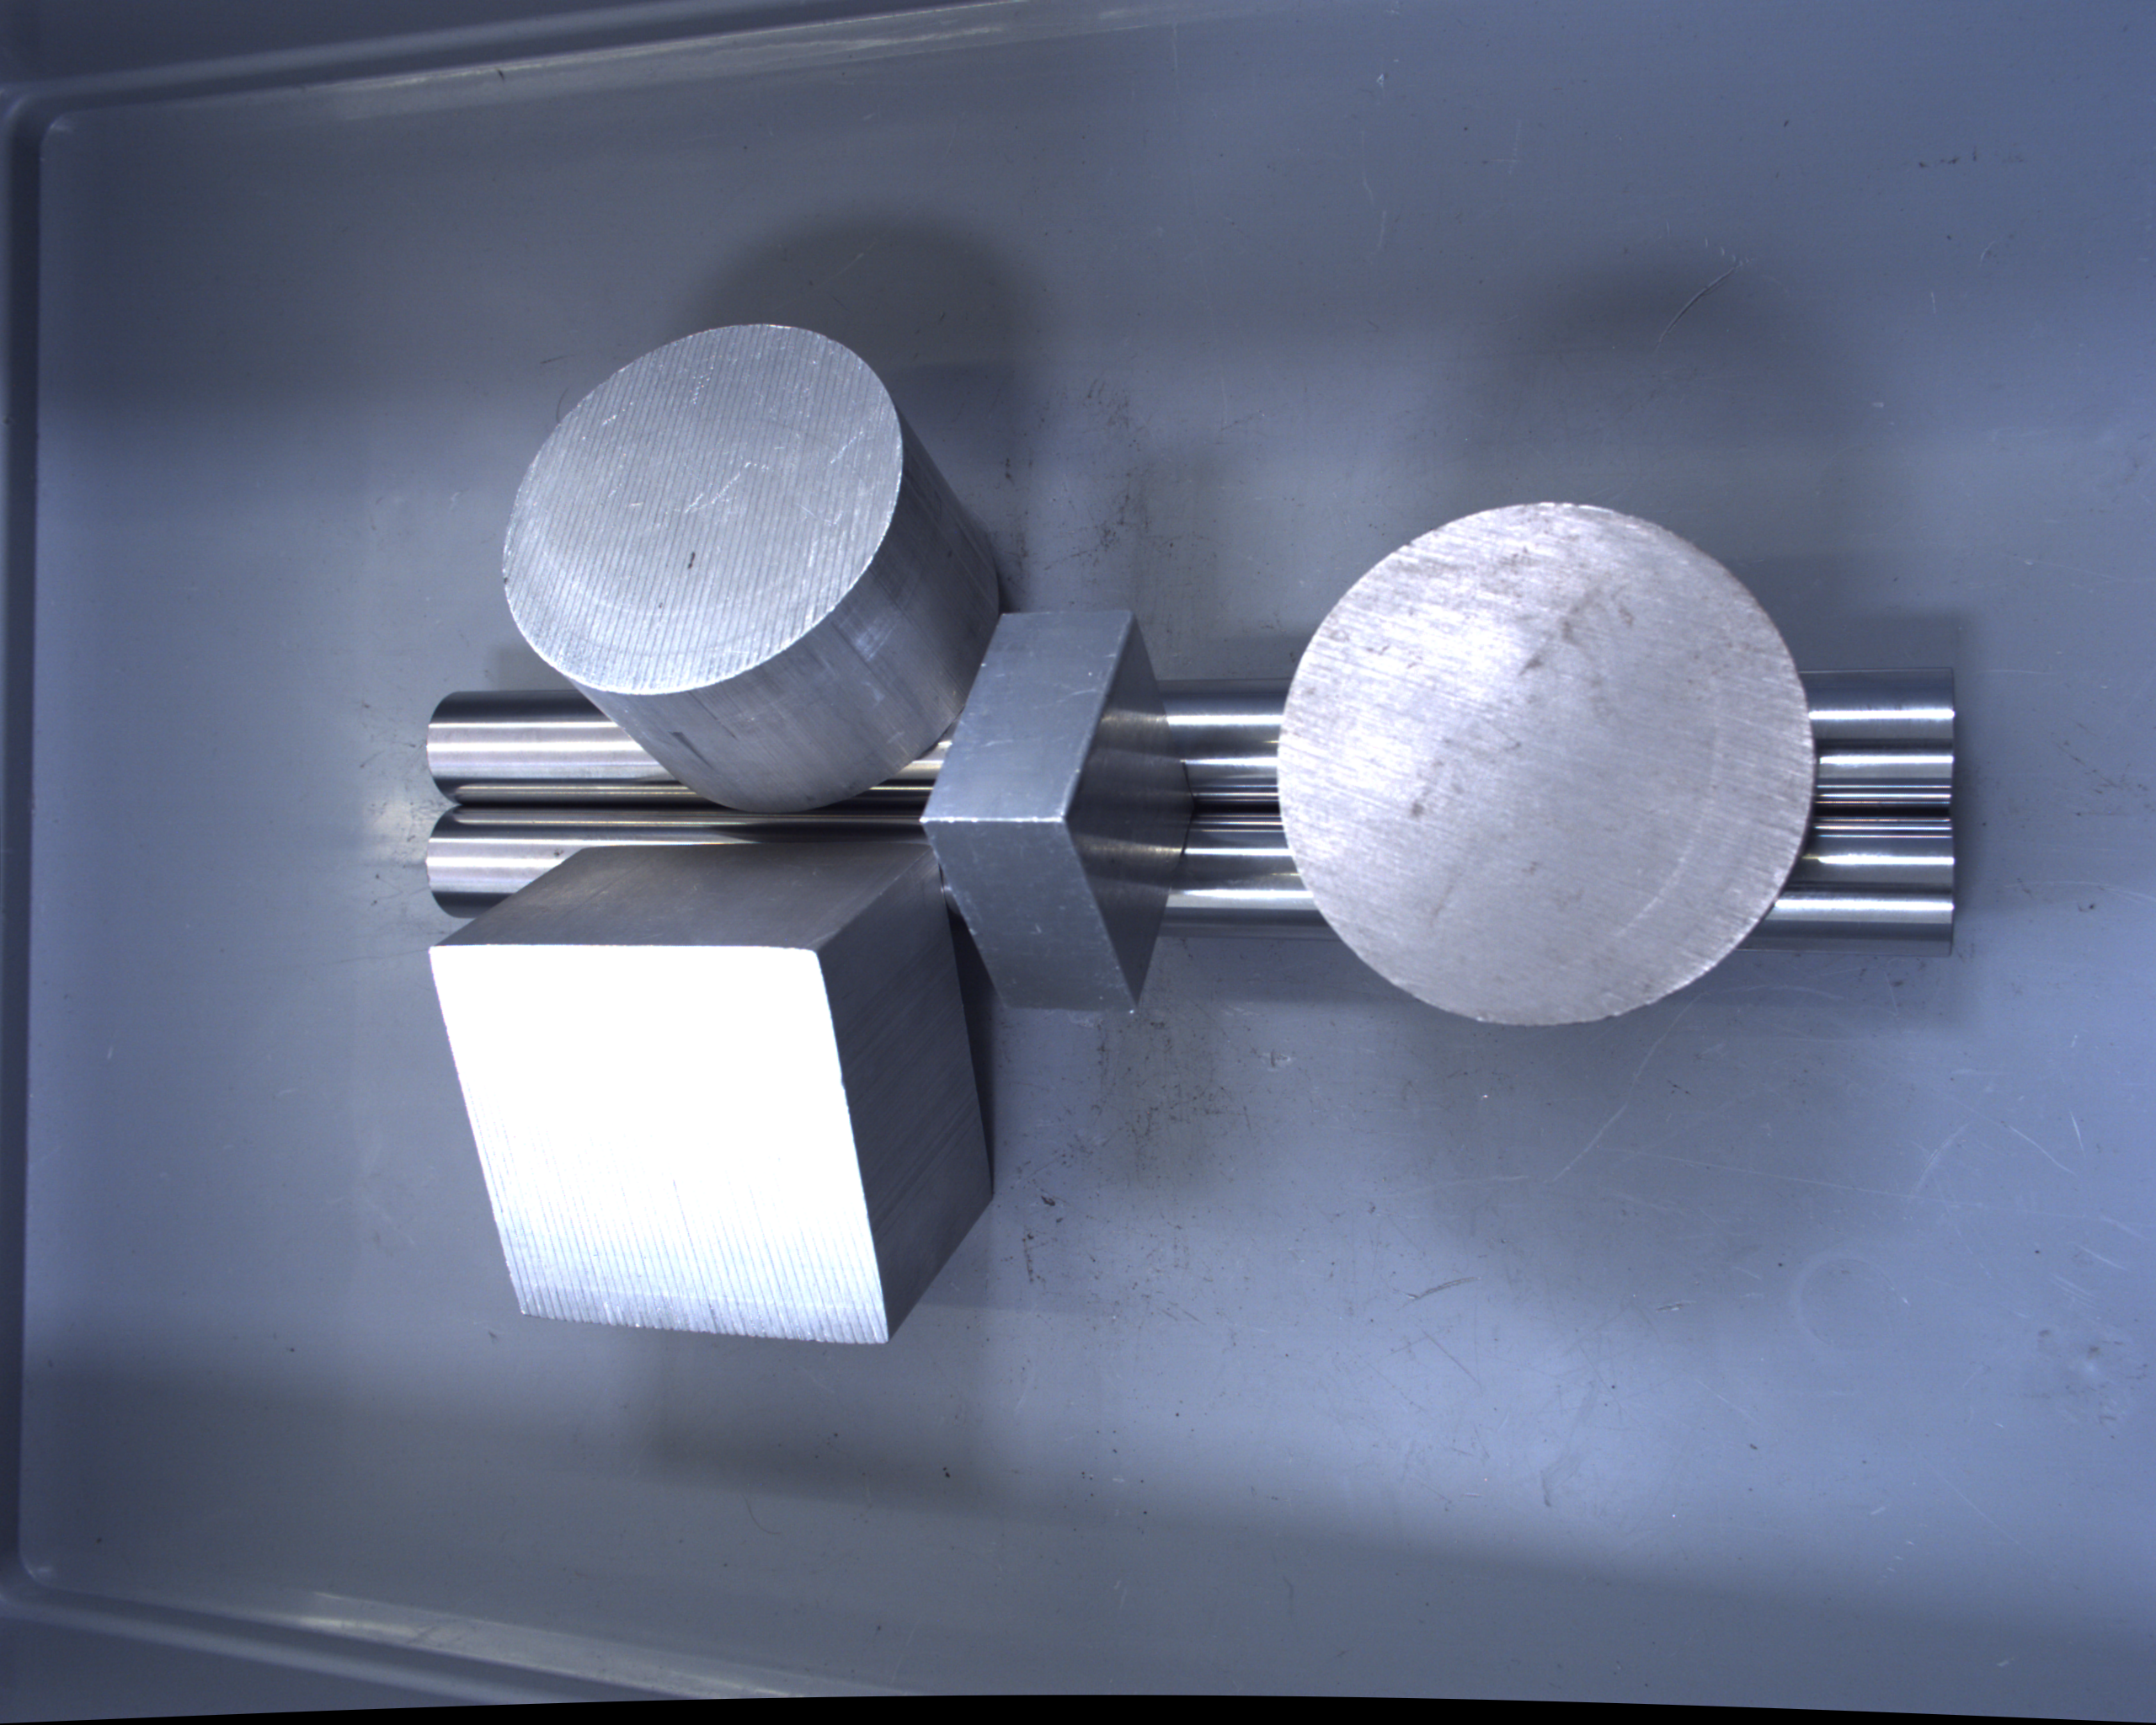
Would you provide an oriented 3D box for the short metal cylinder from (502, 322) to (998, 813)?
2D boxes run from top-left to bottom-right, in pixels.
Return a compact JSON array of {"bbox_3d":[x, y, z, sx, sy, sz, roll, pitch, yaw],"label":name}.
[{"bbox_3d":[-0.062,-0.056,0.402,0.080,0.050,0.080,-7,64,16],"label":"short metal cylinder"}]

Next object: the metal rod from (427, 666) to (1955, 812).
[{"bbox_3d":[0.007,-0.023,0.406,0.301,0.025,0.025,1,90,19],"label":"metal rod"}]

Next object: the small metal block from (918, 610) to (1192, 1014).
[{"bbox_3d":[-0.002,-0.009,0.366,0.025,0.050,0.050,1,48,20],"label":"small metal block"}]

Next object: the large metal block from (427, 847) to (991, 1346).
[{"bbox_3d":[-0.069,0.043,0.405,0.080,0.050,0.079,-1,110,20],"label":"large metal block"}]

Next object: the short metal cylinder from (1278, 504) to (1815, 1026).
[{"bbox_3d":[0.078,-0.015,0.341,0.080,0.050,0.079,0,90,20],"label":"short metal cylinder"}]

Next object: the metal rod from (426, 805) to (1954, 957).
[{"bbox_3d":[0.007,0.002,0.406,0.301,0.025,0.025,1,90,19],"label":"metal rod"}]
